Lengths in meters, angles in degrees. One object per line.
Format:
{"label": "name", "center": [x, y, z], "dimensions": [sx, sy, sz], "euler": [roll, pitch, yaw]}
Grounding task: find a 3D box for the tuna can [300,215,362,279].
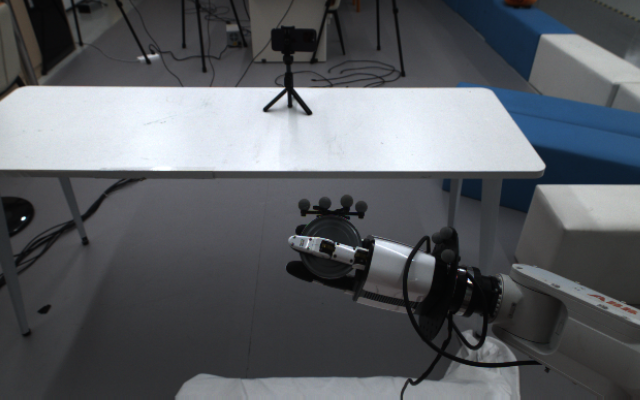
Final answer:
{"label": "tuna can", "center": [0.016, 0.065, 0.663], "dimensions": [0.085, 0.034, 0.085], "euler": [-1, 76, 4]}
